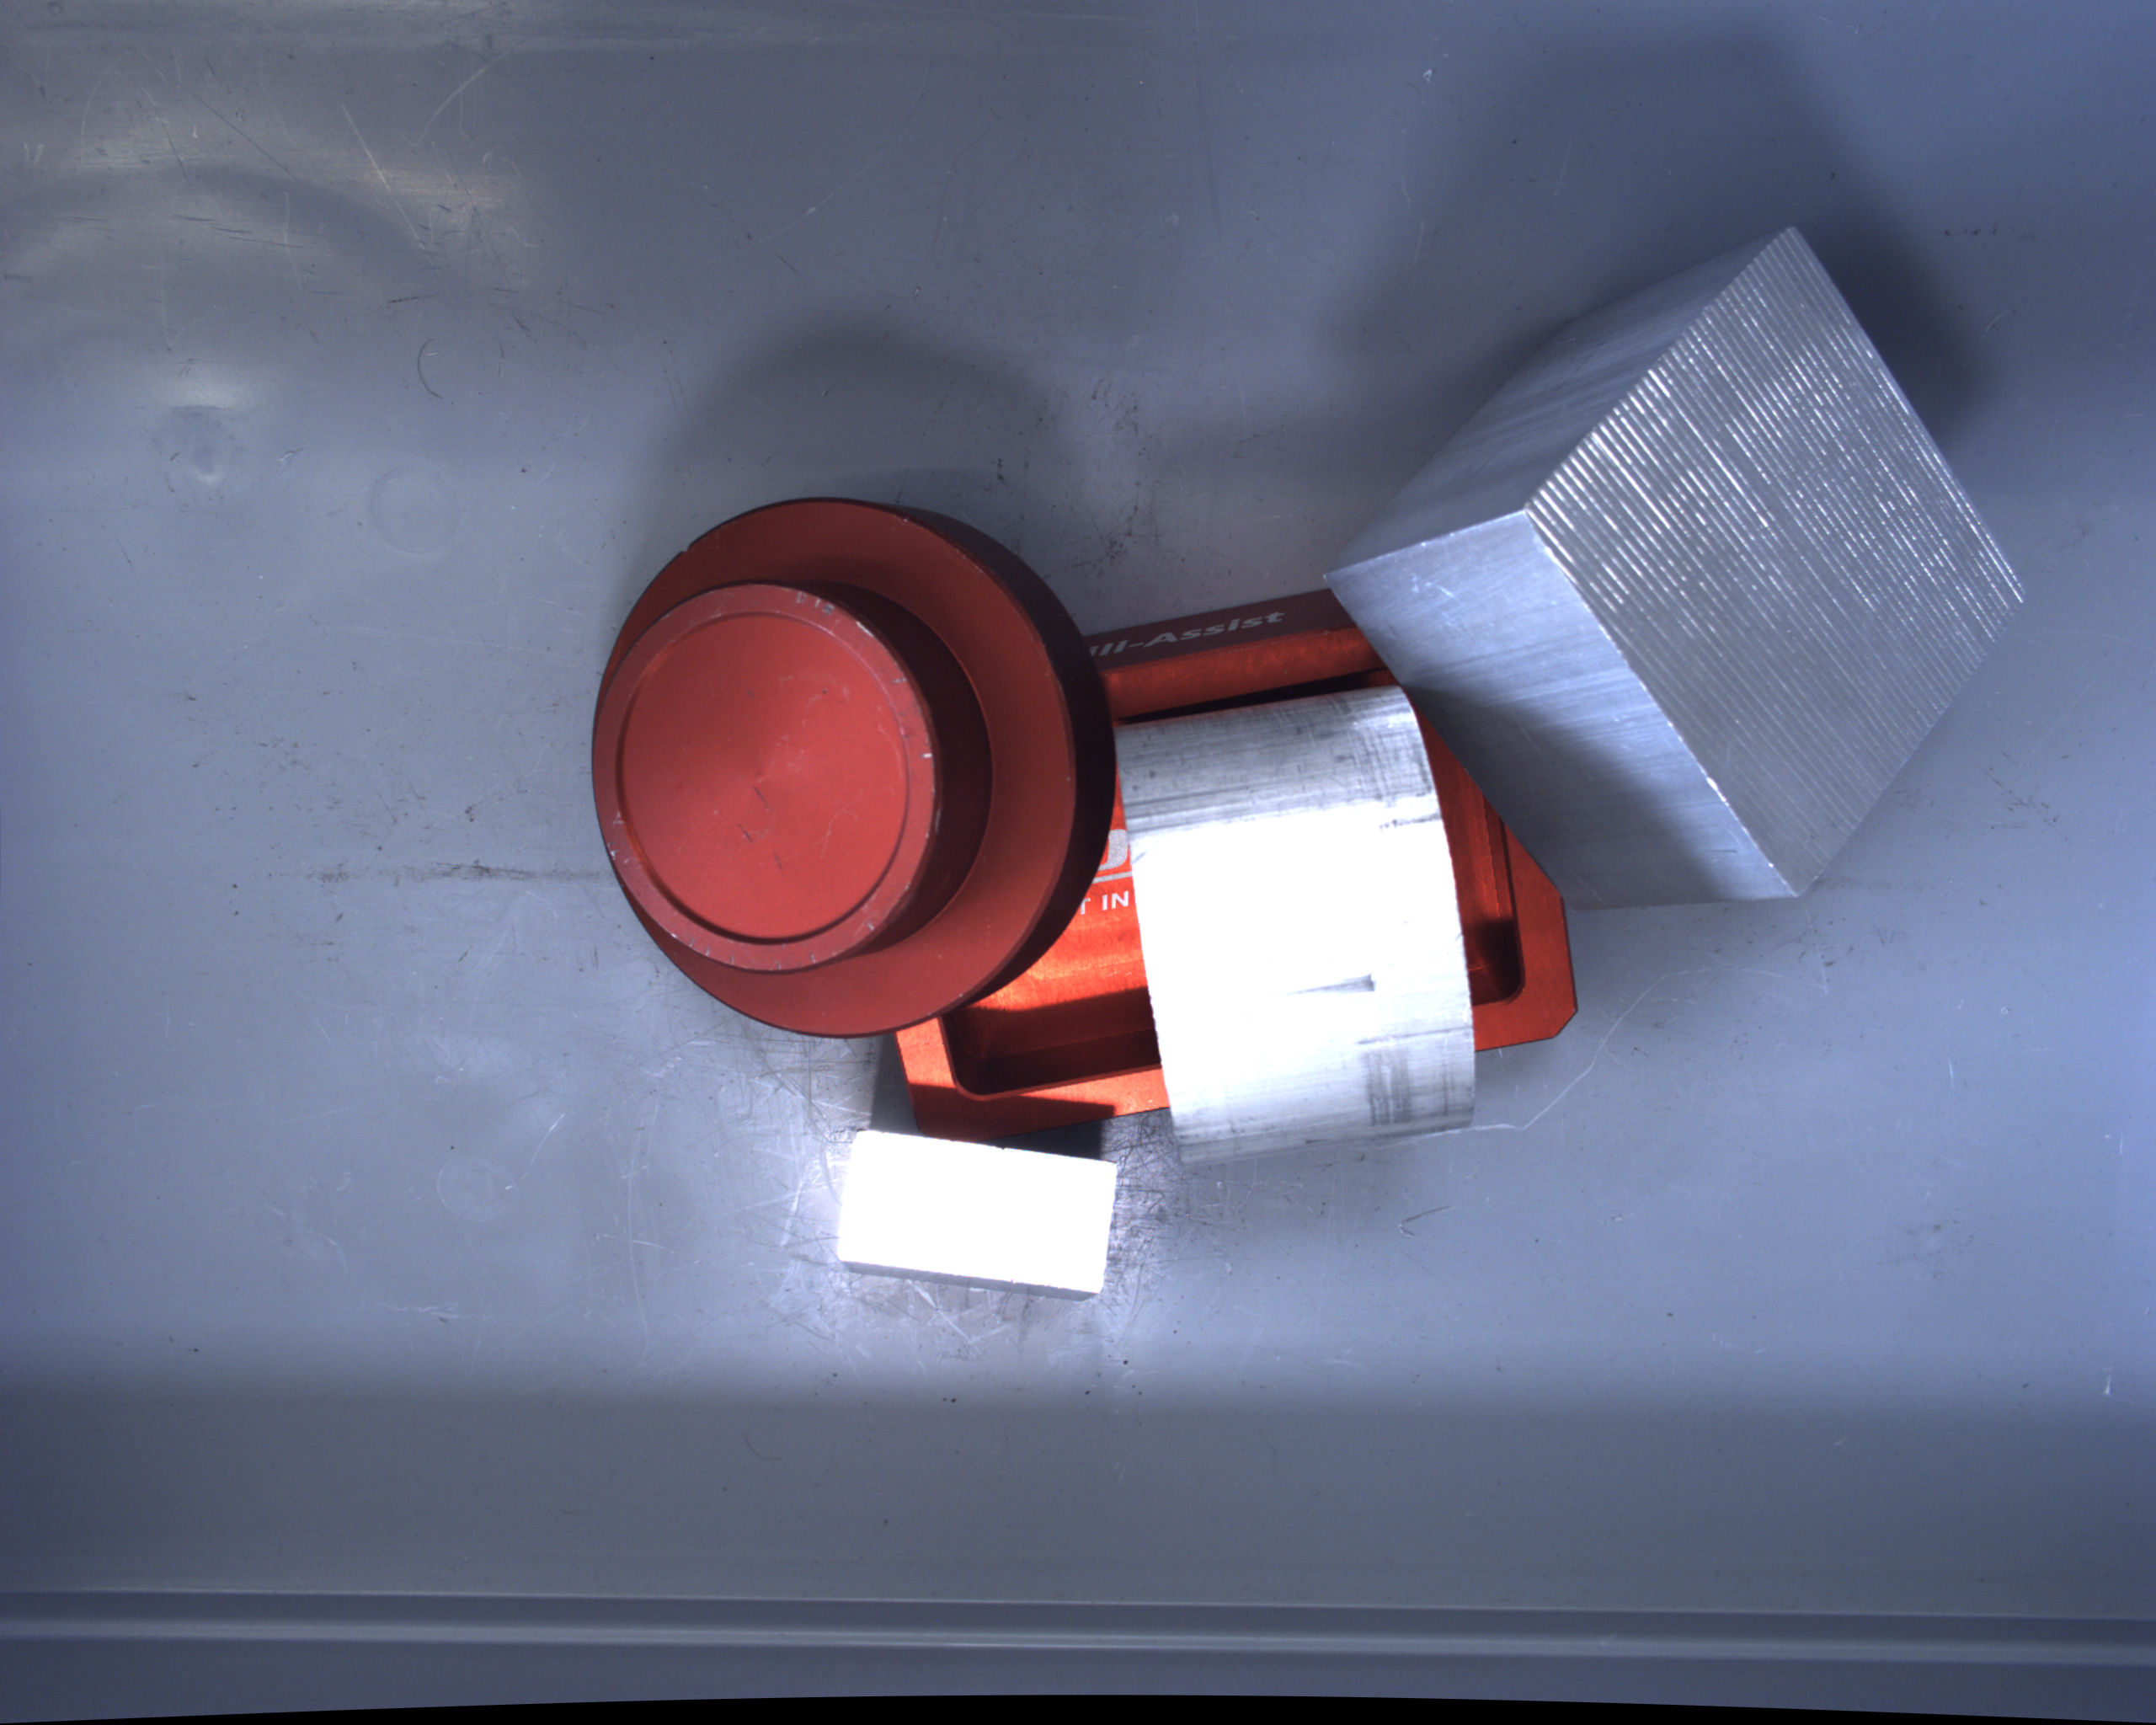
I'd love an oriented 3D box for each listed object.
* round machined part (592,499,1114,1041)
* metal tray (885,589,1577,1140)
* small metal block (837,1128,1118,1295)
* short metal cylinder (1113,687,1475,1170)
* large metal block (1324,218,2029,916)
[{"bbox_3d":[-0.047,-0.016,0.374,0.098,0.042,0.097,2,96,22],"label":"round machined part"},{"bbox_3d":[0.025,-0.001,0.408,0.131,0.030,0.089,-11,110,3],"label":"metal tray"},{"bbox_3d":[-0.020,0.072,0.420,0.050,0.050,0.025,8,76,-2],"label":"small metal block"},{"bbox_3d":[0.037,0.011,0.371,0.050,0.080,0.079,-9,110,2],"label":"short metal cylinder"},{"bbox_3d":[0.104,-0.048,0.358,0.080,0.050,0.080,-47,108,-23],"label":"large metal block"}]
